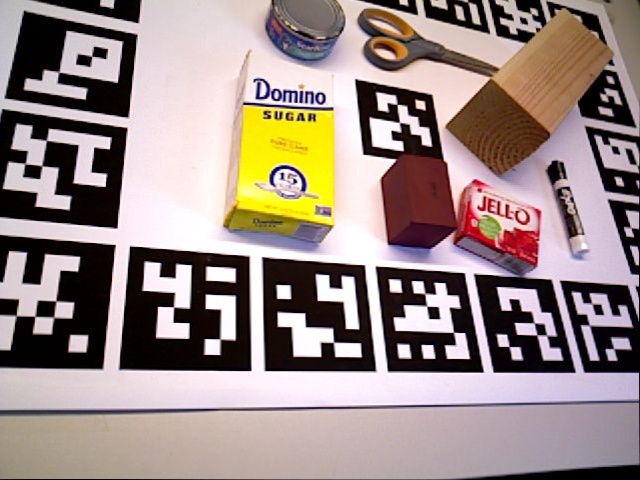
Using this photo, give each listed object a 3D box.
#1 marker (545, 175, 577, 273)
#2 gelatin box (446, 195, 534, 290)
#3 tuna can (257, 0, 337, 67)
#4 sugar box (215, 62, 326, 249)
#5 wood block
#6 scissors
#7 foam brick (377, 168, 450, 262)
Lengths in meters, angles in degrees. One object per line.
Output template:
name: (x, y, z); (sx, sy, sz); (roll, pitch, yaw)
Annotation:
marker: (0.283, -0.022, 0.639); (0.019, 0.020, 0.120); (7, 69, -18)
gelatin box: (0.184, 0.002, 0.587); (0.089, 0.031, 0.072); (24, 63, -10)
tuna can: (-0.026, -0.235, 0.599); (0.085, 0.034, 0.085); (7, 67, -18)
sugar box: (-0.044, -0.083, 0.527); (0.092, 0.046, 0.174); (11, 65, -18)
wood block: (0.254, -0.162, 0.650); (0.090, 0.093, 0.202); (45, 59, 3)
scissors: (0.131, -0.219, 0.667); (0.201, 0.016, 0.086); (13, 65, -13)
foam brick: (0.092, -0.024, 0.545); (0.052, 0.052, 0.077); (8, 67, -18)
